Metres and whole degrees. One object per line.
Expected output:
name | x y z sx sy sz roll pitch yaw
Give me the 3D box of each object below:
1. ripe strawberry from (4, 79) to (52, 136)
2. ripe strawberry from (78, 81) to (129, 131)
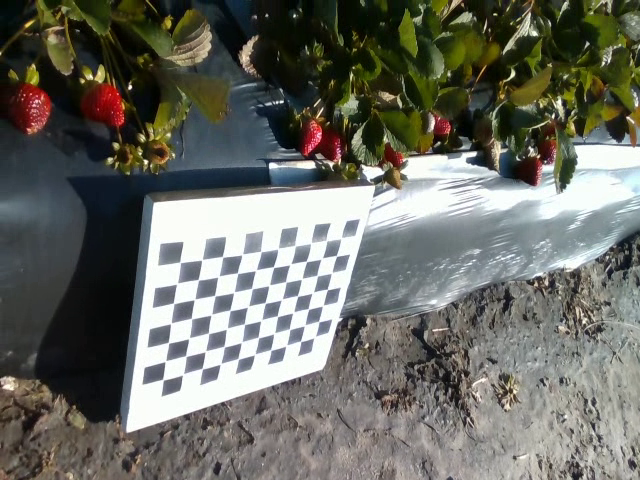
ripe strawberry | -0.248 -0.109 0.576 0.044 0.050 0.050 -43 -33 25
ripe strawberry | -0.195 -0.122 0.626 0.042 0.049 0.039 -42 -13 -10
